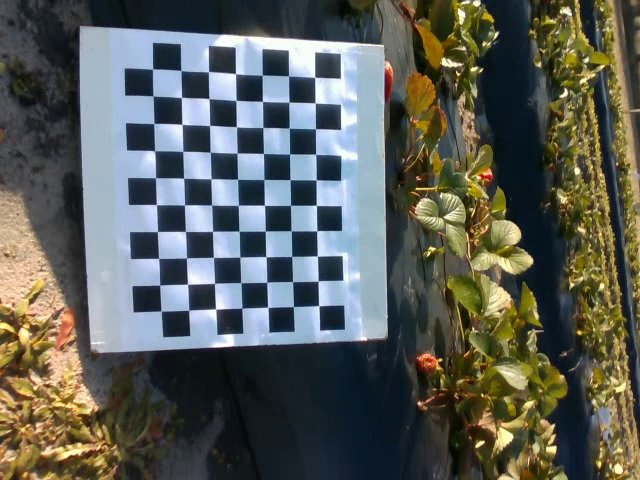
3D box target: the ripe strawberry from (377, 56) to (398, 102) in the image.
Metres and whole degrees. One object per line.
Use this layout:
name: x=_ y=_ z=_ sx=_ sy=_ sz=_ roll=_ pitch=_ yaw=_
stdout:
ripe strawberry: x=0.072 y=-0.195 z=0.662 sx=0.044 sy=0.064 sz=0.043 roll=-18 pitch=8 yaw=-9
